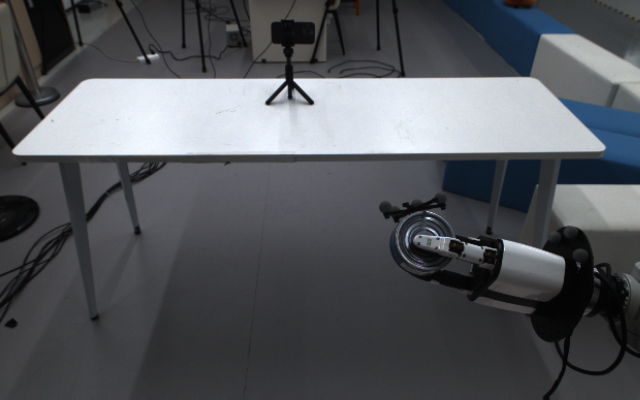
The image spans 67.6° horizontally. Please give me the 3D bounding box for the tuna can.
[{"bbox_3d":[0.143,0.056,0.661,0.085,0.034,0.085,0,72,-1],"label":"tuna can"}]
